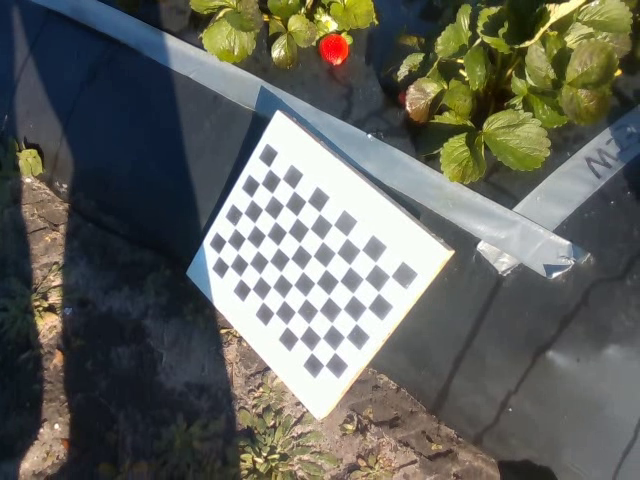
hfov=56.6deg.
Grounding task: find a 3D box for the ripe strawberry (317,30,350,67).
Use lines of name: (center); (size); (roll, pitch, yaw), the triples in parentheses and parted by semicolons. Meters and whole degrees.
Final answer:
ripe strawberry: (0.019, -0.257, 0.807); (0.046, 0.059, 0.042); (-29, -32, 30)
